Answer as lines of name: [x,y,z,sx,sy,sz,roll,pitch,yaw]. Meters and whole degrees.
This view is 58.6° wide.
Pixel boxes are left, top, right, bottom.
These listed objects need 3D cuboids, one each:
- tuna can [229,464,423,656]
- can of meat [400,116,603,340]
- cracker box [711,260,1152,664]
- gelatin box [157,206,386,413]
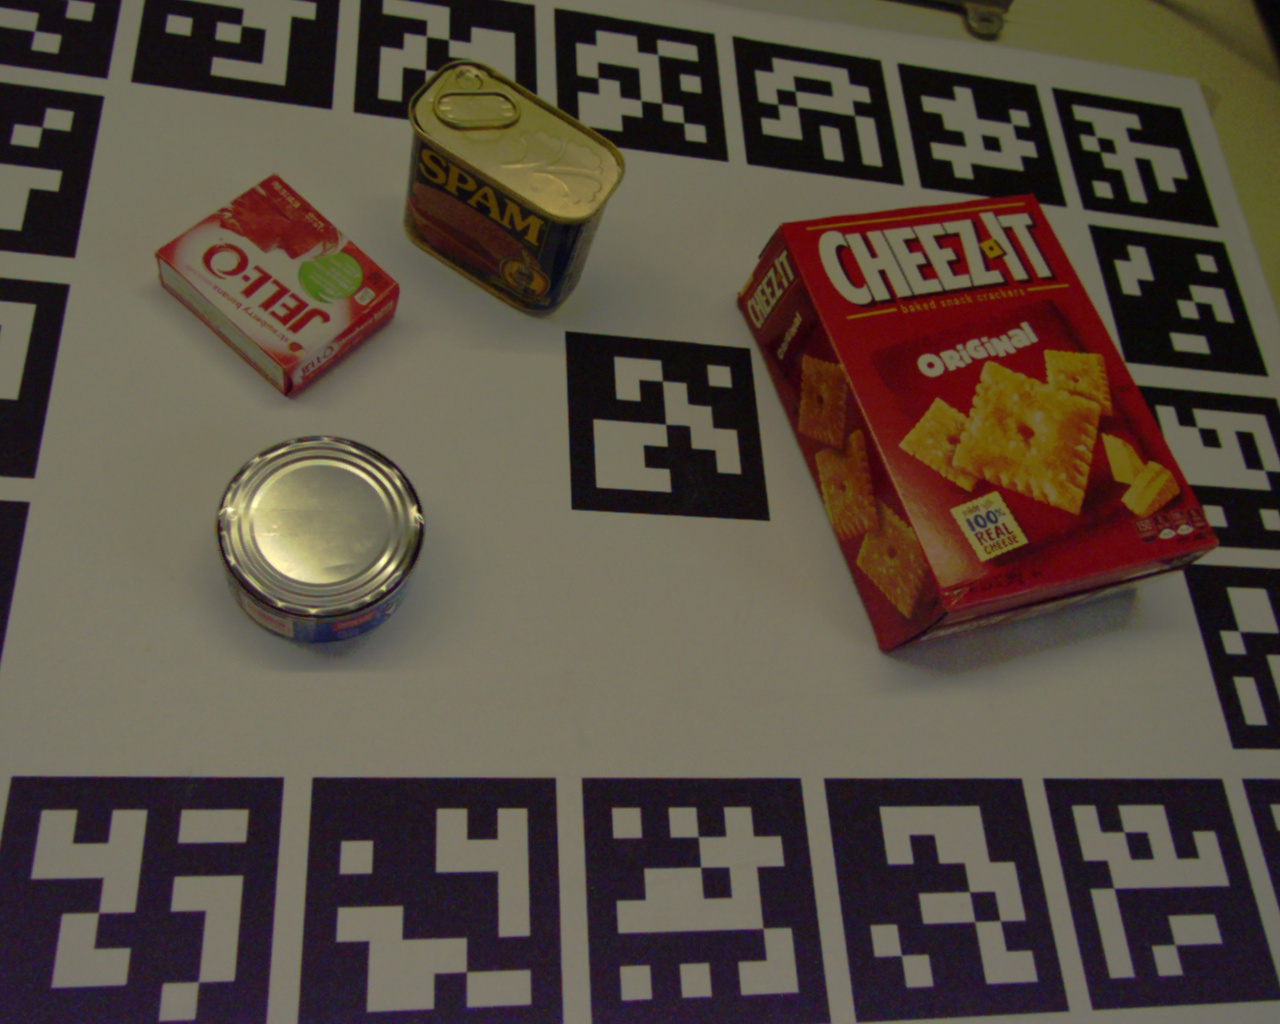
tuna can: [-0.146,0.023,0.532,0.085,0.034,0.086,5,66,-13]
can of meat: [-0.080,-0.150,0.621,0.102,0.084,0.057,30,60,1]
cracker box: [0.159,-0.041,0.639,0.162,0.072,0.215,-12,67,-23]
gelatin box: [-0.189,-0.106,0.589,0.089,0.030,0.073,41,58,3]
